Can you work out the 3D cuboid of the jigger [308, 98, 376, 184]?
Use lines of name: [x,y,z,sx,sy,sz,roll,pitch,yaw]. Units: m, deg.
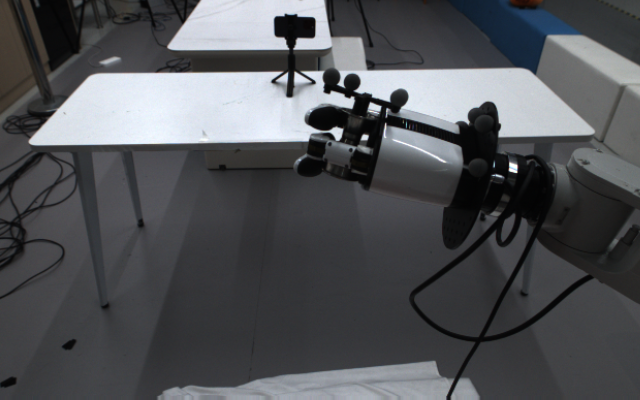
jigger: [0.031,-0.061,0.519,0.043,0.071,0.043,15,17,-4]
